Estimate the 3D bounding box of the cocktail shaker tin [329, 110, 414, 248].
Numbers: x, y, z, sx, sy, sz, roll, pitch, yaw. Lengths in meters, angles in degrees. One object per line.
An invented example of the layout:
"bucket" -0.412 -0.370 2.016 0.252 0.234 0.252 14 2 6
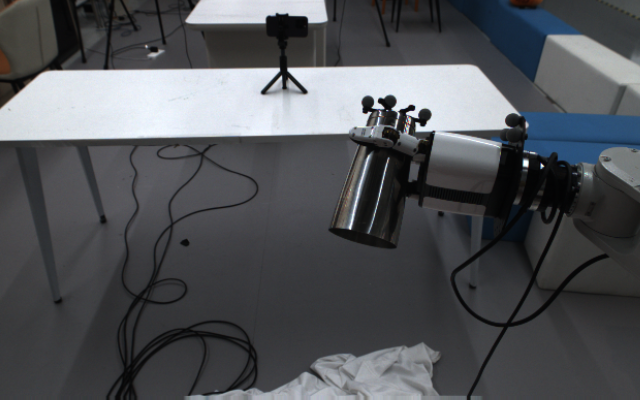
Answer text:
"cocktail shaker tin" 0.080 -0.032 0.645 0.093 0.093 0.170 13 77 15
